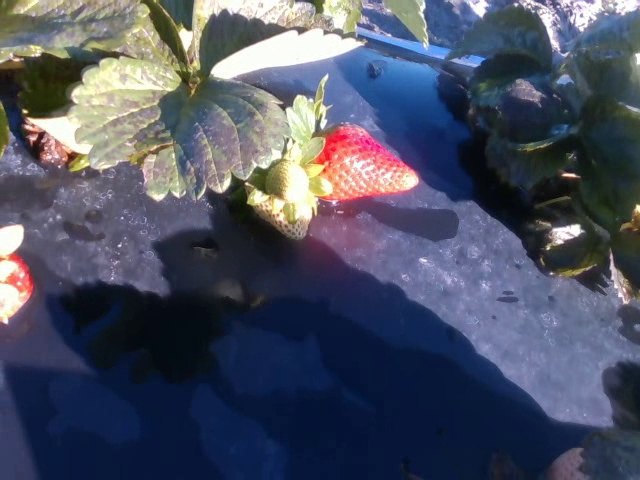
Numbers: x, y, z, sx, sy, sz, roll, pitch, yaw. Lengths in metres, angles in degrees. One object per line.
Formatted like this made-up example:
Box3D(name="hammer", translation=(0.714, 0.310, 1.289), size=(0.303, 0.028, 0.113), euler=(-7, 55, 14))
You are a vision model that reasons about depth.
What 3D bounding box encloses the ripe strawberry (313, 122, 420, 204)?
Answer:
Box3D(name="ripe strawberry", translation=(0.022, -0.036, 0.308), size=(0.064, 0.050, 0.052), euler=(15, -6, 2))
